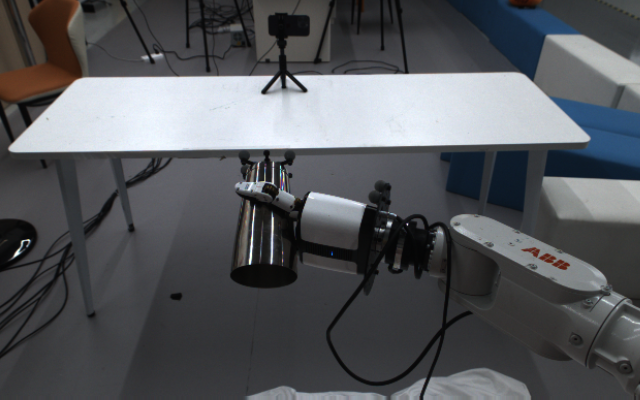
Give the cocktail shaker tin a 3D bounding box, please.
[{"bbox_3d":[-0.080,0.031,0.697,0.093,0.093,0.170,0,59,-3],"label":"cocktail shaker tin"}]
